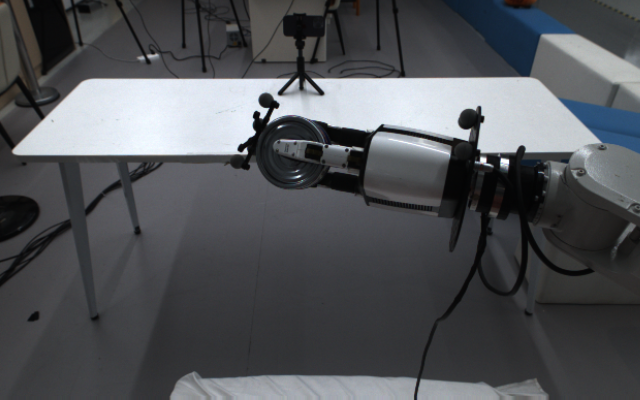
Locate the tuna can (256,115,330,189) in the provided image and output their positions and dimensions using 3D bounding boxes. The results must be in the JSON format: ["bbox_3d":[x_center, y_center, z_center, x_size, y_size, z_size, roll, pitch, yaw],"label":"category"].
[{"bbox_3d":[-0.026,-0.052,0.563,0.085,0.085,0.034,7,5,8],"label":"tuna can"}]
